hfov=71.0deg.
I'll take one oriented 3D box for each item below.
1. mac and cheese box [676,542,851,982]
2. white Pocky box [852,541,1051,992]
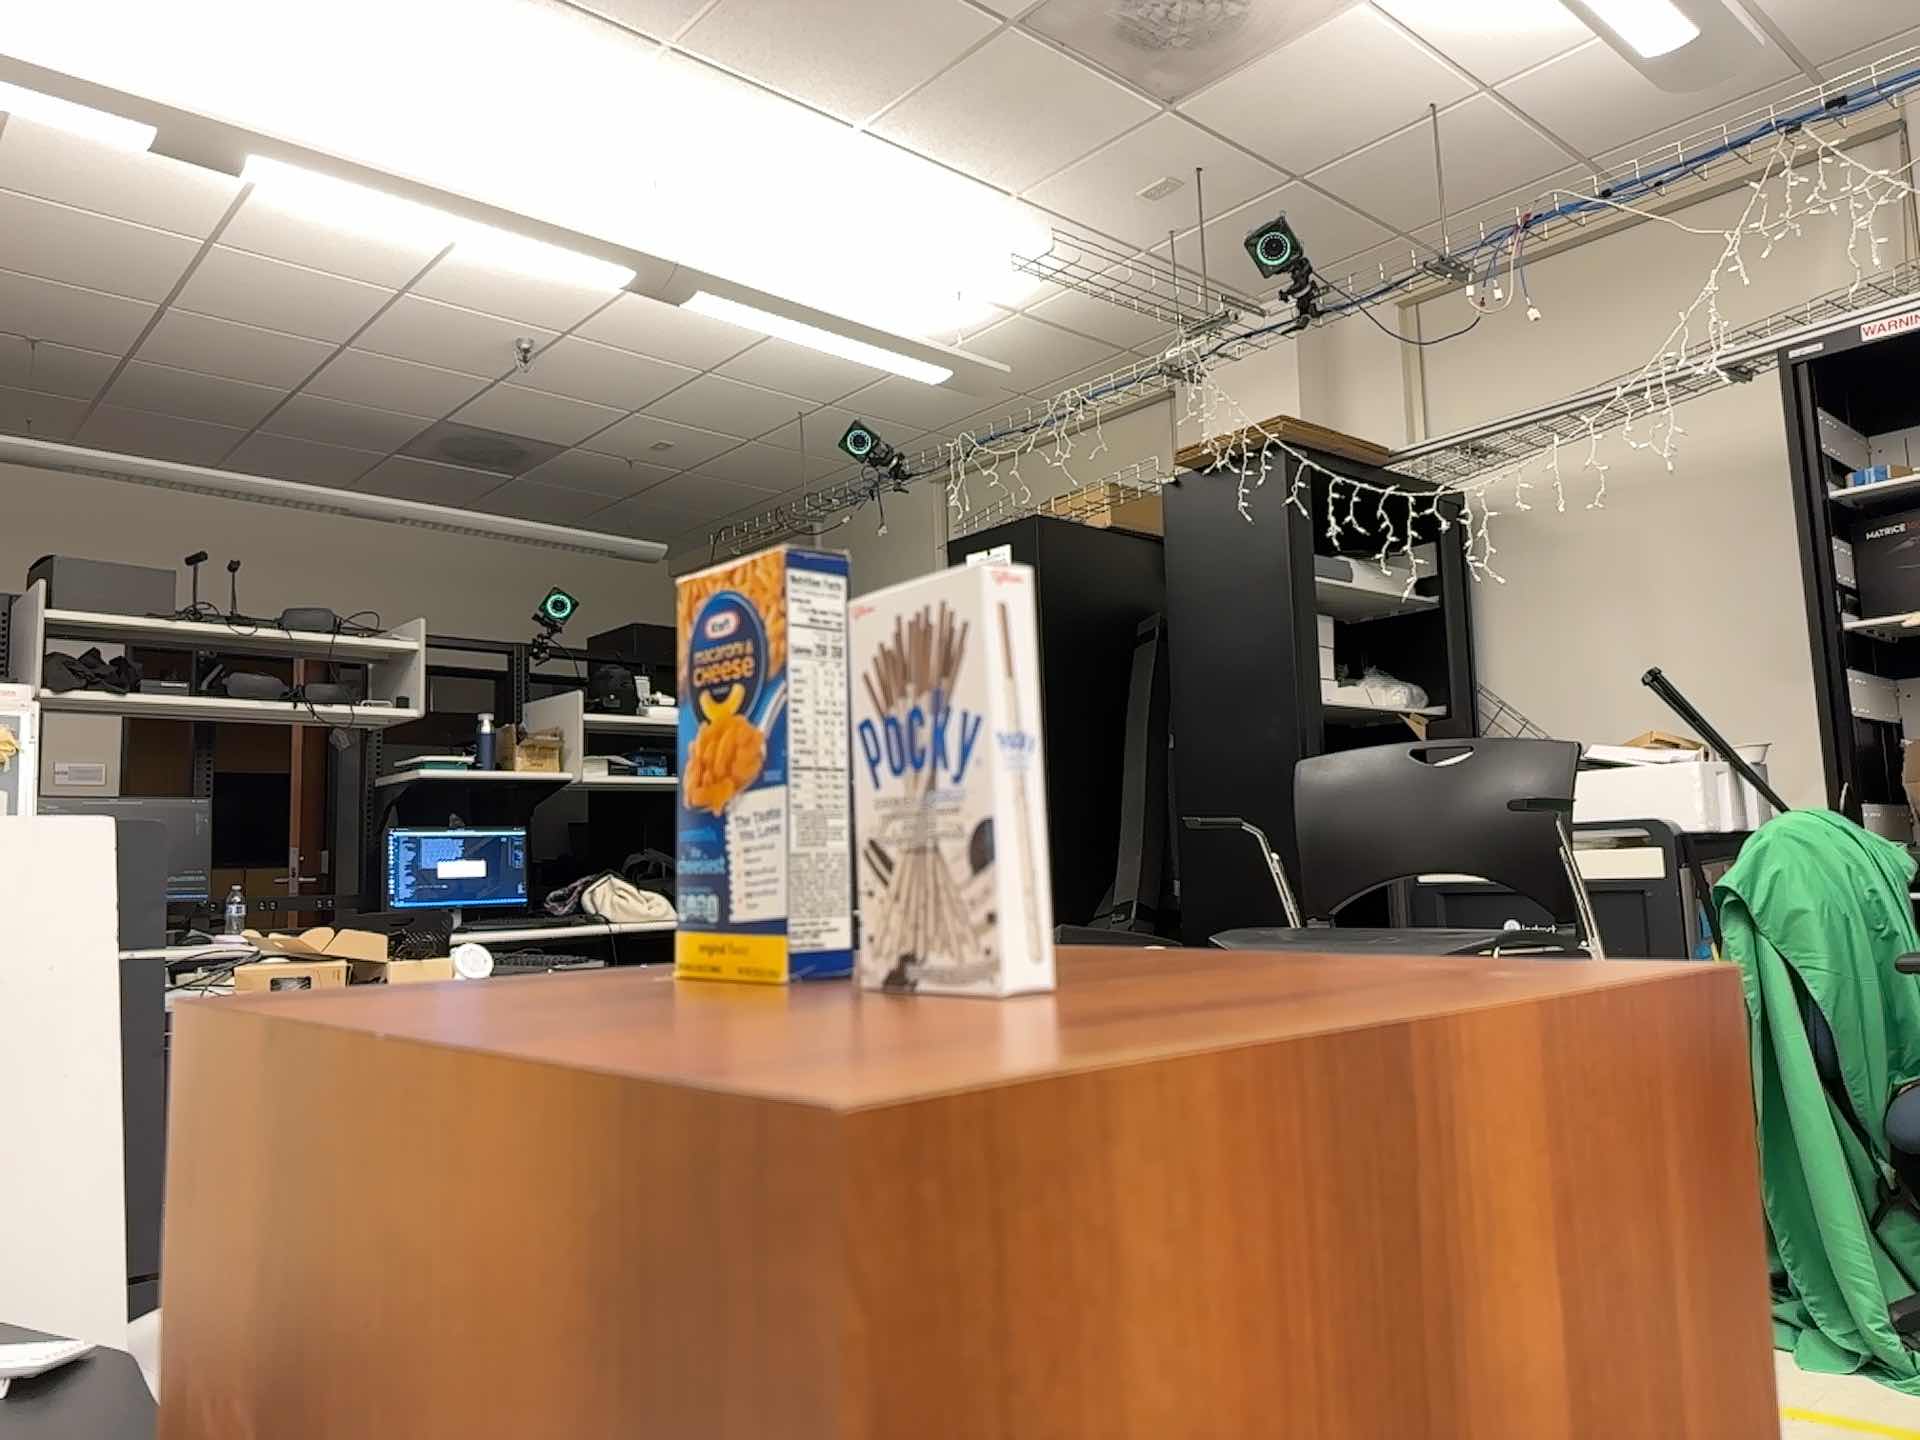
[{"bbox_3d":[-0.089,0.022,0.597,0.035,0.181,0.088,5,-12,-38],"label":"mac and cheese box"},{"bbox_3d":[-0.006,0.020,0.492,0.028,0.154,0.084,3,-9,-35],"label":"white Pocky box"}]
